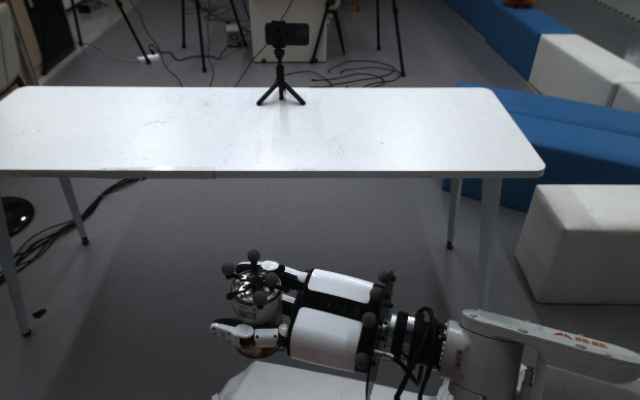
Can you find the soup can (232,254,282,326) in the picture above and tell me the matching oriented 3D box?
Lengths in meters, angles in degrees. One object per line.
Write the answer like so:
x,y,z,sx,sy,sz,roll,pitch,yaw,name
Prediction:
-0.081,0.152,0.644,0.067,0.101,0.067,2,32,-1,soup can
